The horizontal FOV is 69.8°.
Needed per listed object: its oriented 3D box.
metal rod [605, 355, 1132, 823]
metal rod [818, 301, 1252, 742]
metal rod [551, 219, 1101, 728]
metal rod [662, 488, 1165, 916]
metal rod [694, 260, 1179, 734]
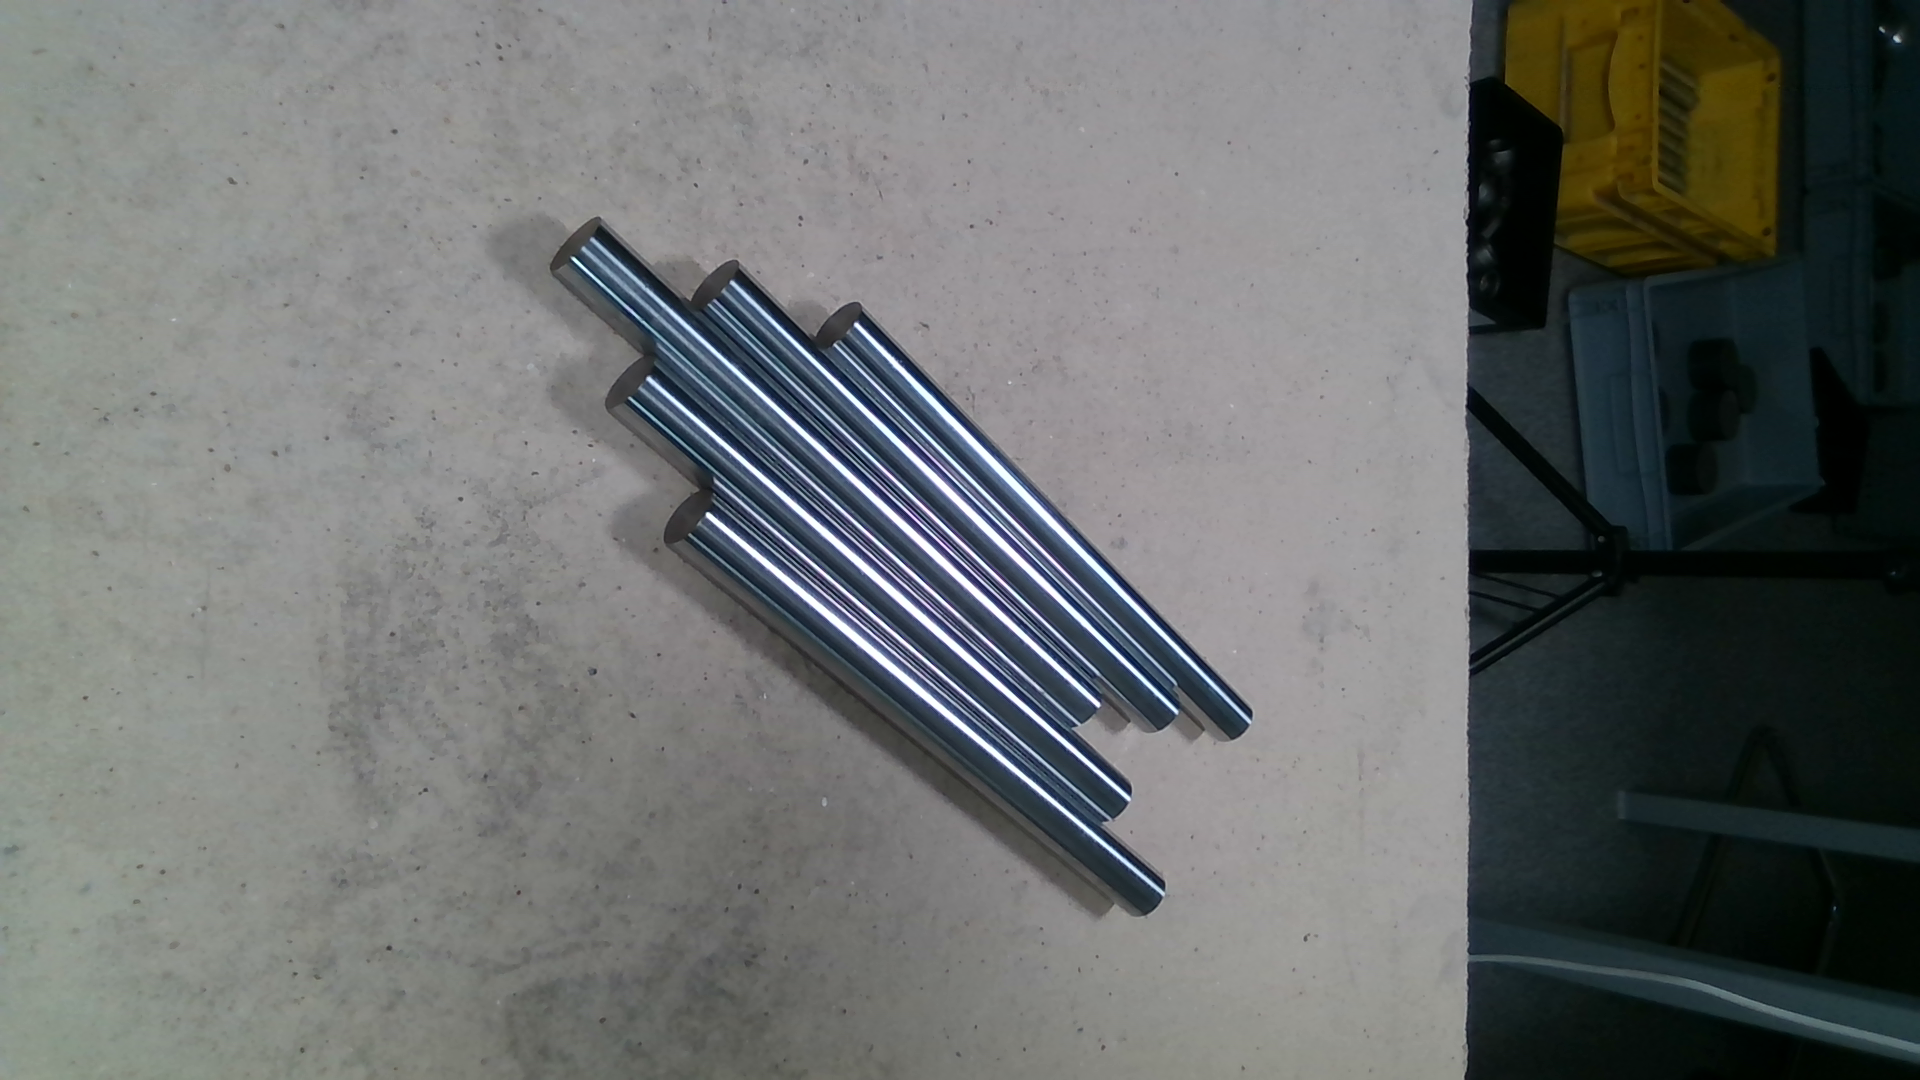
[{"bbox_3d":[-0.023,0.032,0.563,0.301,0.025,0.025,43,64,-31],"label":"metal rod"},{"bbox_3d":[0.044,0.004,0.620,0.301,0.025,0.025,43,64,-31],"label":"metal rod"},{"bbox_3d":[-0.039,-0.013,0.551,0.301,0.025,0.025,44,64,-32],"label":"metal rod"},{"bbox_3d":[-0.006,0.079,0.578,0.301,0.025,0.025,43,64,-31],"label":"metal rod"},{"bbox_3d":[0.002,-0.005,0.585,0.301,0.025,0.025,44,64,-32],"label":"metal rod"}]
